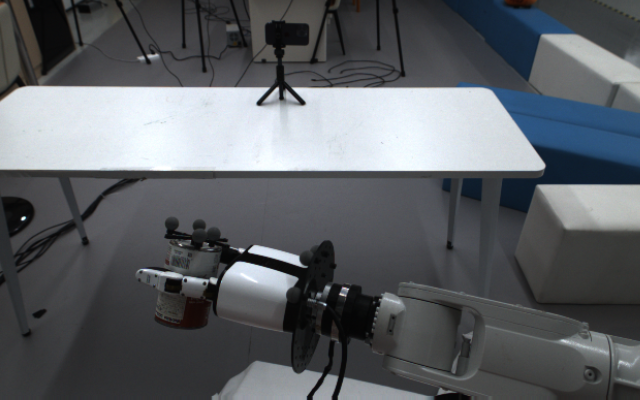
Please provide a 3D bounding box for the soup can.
[{"bbox_3d":[-0.164,0.104,0.610,0.067,0.101,0.067,12,2,0],"label":"soup can"}]
